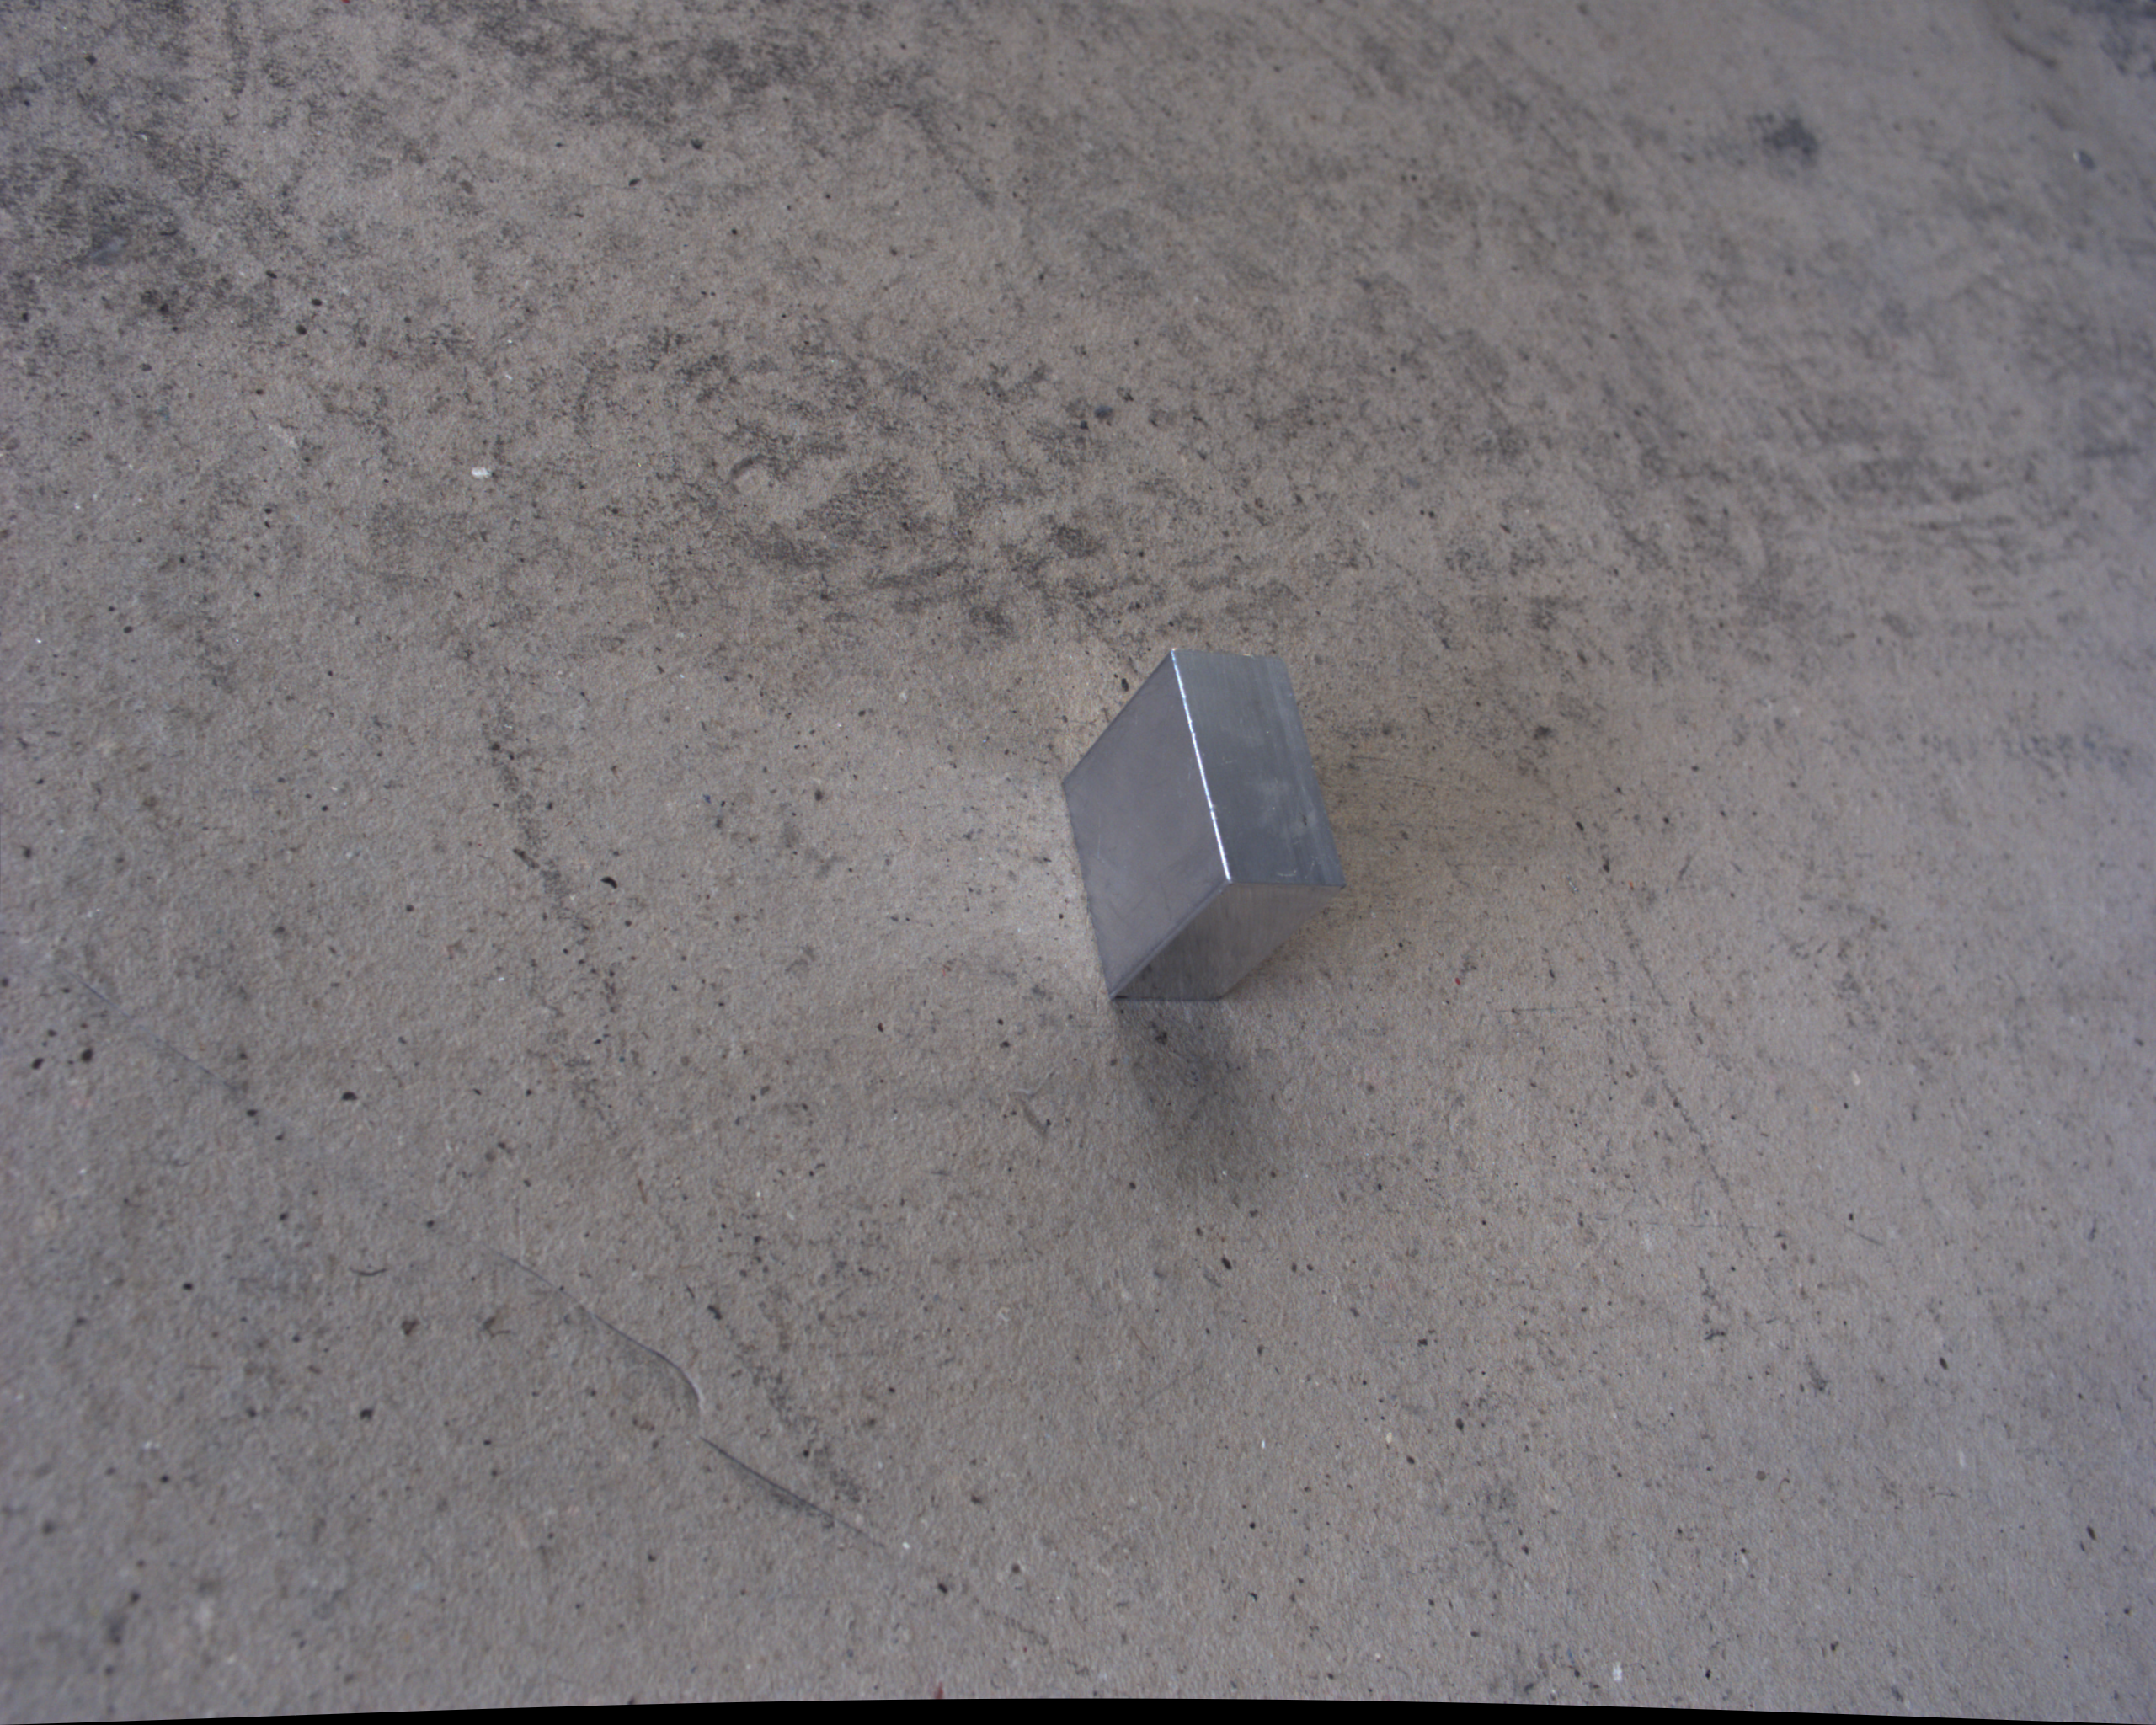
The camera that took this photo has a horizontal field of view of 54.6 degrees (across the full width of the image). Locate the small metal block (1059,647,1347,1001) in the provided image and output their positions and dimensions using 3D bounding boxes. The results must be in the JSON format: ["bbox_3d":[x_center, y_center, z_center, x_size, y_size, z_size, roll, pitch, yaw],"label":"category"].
[{"bbox_3d":[0.023,-0.006,0.405,0.025,0.050,0.050,3,61,-28],"label":"small metal block"}]
